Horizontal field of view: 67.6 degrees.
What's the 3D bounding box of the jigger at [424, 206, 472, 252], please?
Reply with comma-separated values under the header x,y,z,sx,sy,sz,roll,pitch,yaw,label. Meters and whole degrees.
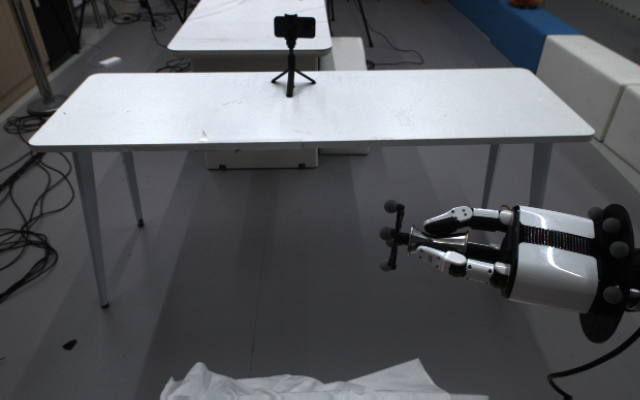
x,y,z,sx,sy,sz,roll,pitch,yaw,label
0.152,0.051,0.599,0.071,0.043,0.043,8,35,15,jigger
